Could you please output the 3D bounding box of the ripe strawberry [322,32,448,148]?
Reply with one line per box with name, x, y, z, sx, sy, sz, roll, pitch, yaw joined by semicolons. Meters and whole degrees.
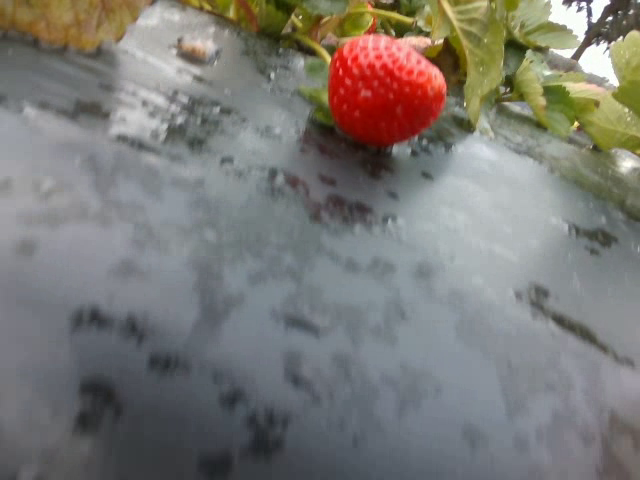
ripe strawberry;0.026;-0.054;0.230;0.045;0.048;0.054;-10;17;-18
